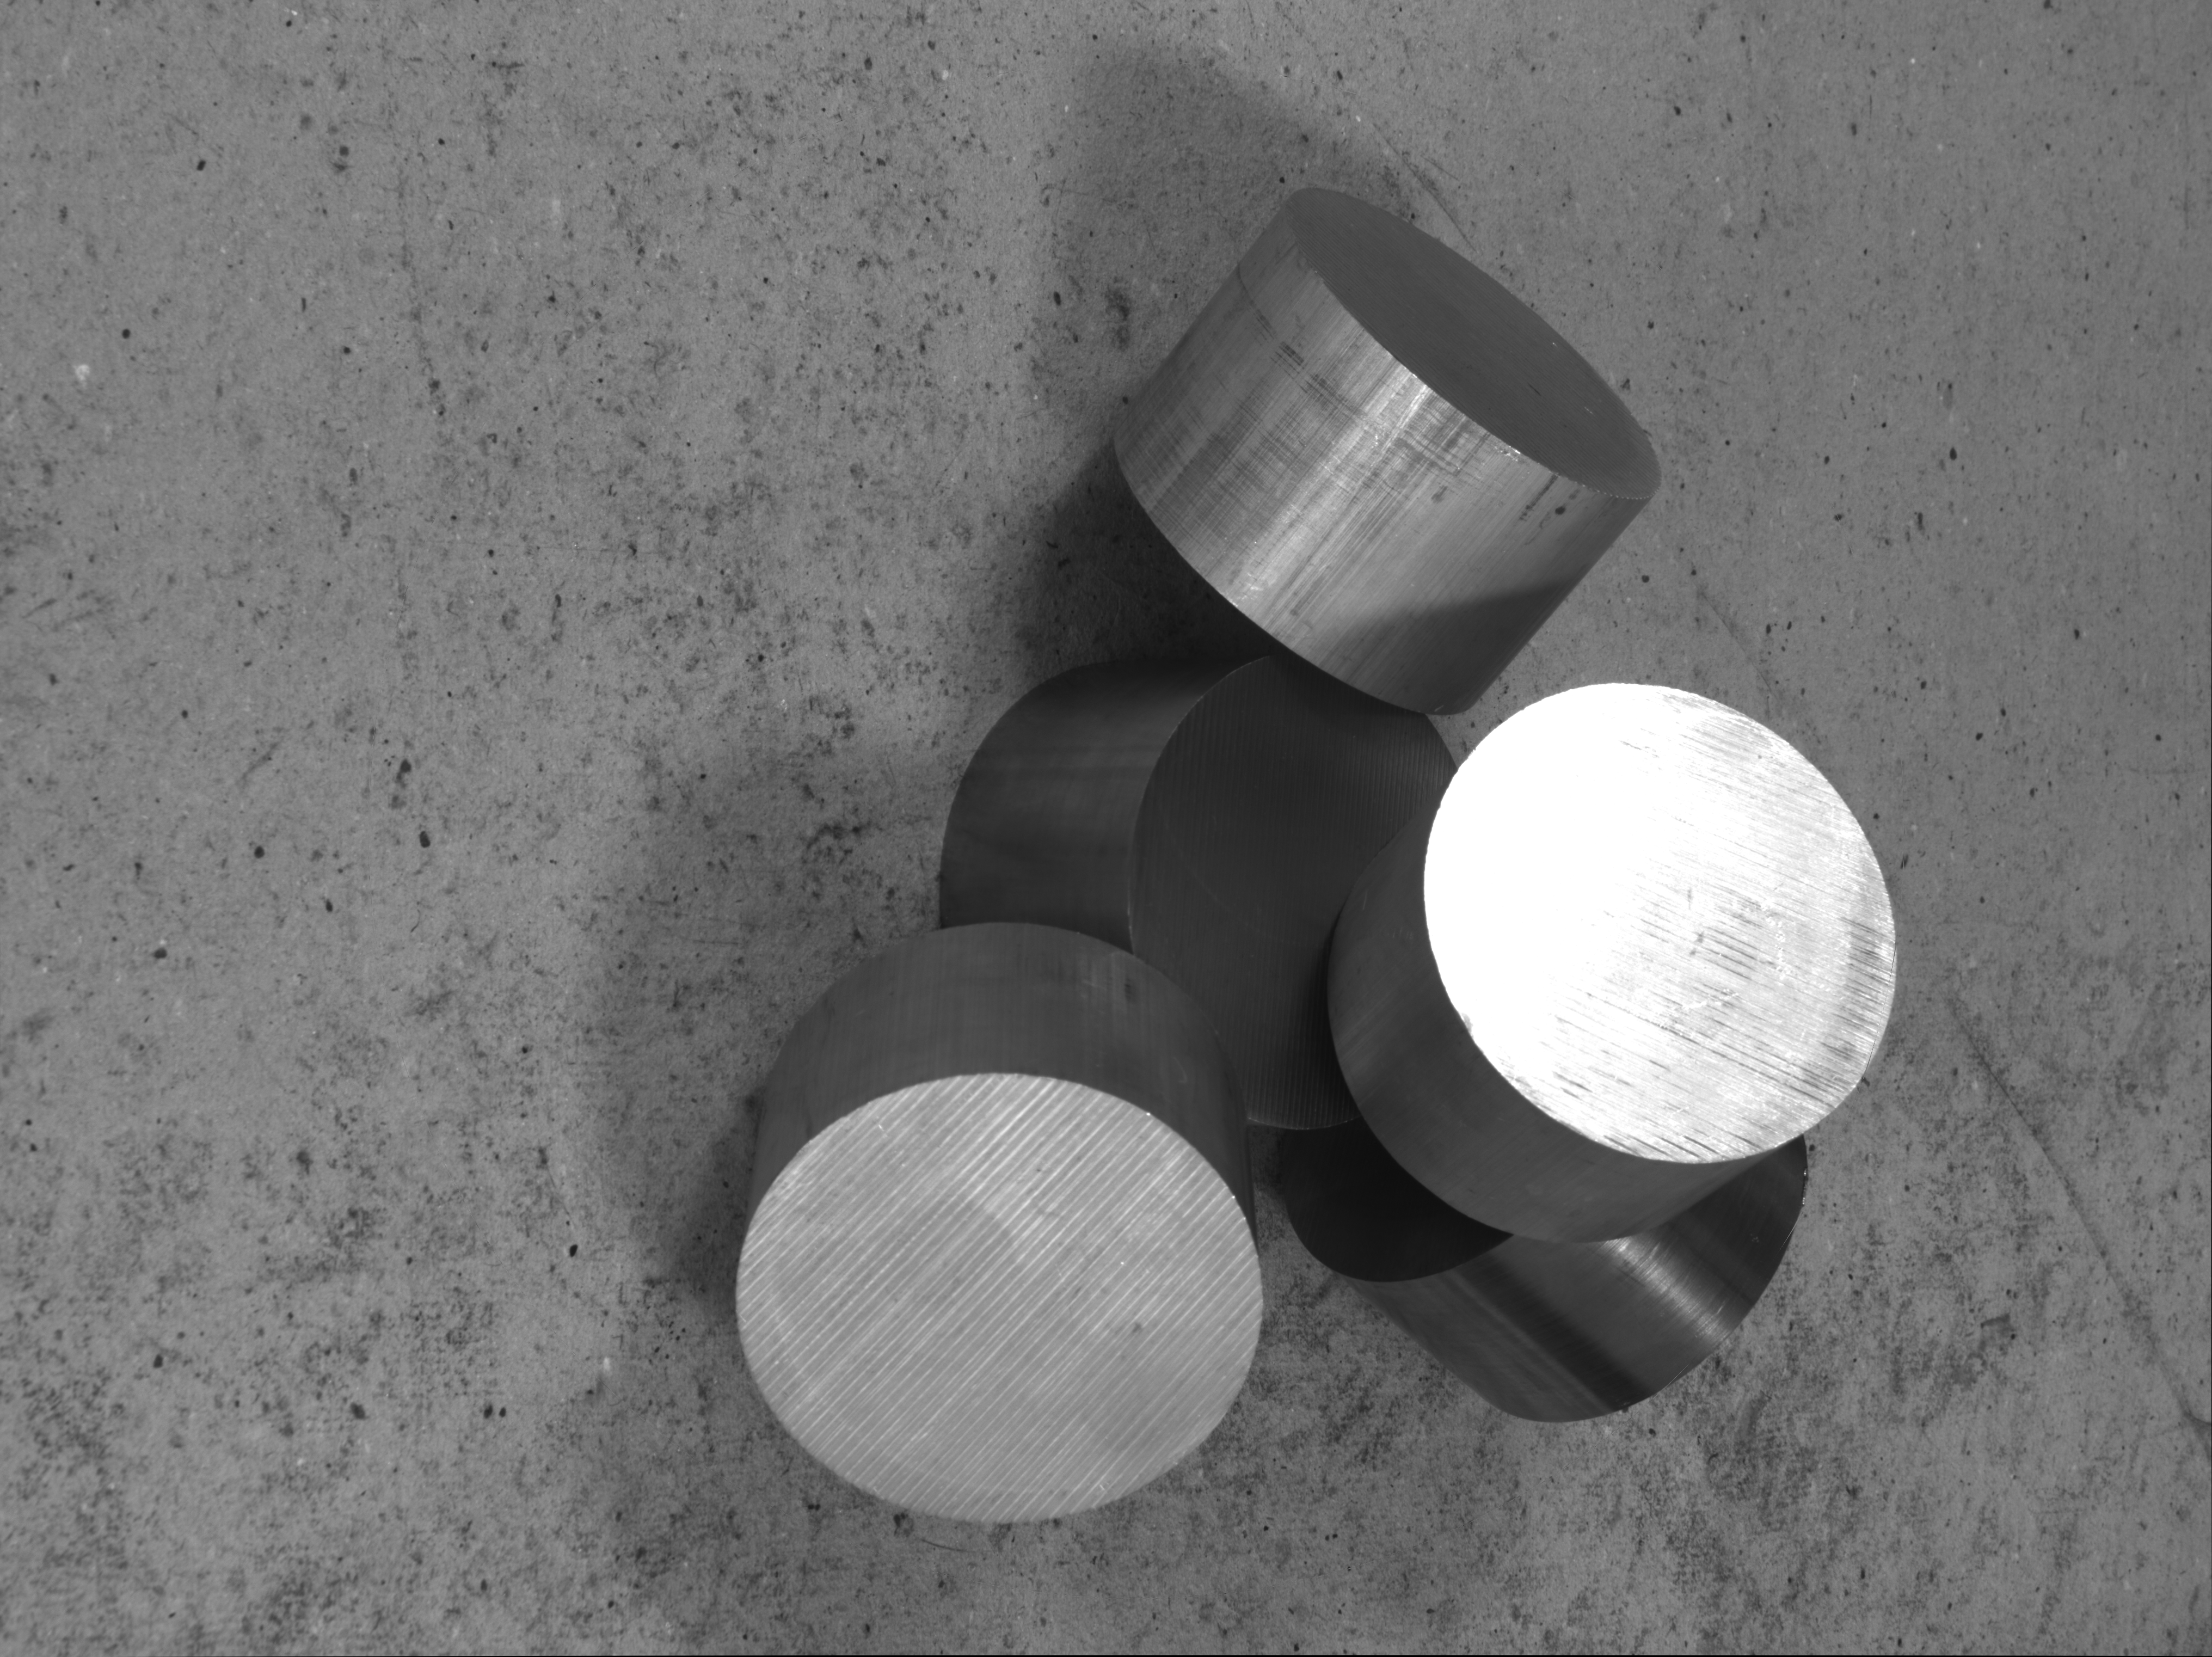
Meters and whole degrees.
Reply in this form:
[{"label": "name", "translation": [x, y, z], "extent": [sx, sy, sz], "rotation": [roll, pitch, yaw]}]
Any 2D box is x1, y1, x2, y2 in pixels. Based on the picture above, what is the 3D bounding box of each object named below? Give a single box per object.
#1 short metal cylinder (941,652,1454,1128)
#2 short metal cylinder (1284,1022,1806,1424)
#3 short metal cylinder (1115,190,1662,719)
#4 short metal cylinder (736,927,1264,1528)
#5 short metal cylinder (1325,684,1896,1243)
[{"label": "short metal cylinder", "translation": [0.018, 0.011, 0.635], "extent": [0.080, 0.050, 0.080], "rotation": [1, 89, -40]}, {"label": "short metal cylinder", "translation": [0.079, 0.060, 0.666], "extent": [0.050, 0.080, 0.080], "rotation": [42, 65, -32]}, {"label": "short metal cylinder", "translation": [0.049, -0.065, 0.633], "extent": [0.080, 0.080, 0.050], "rotation": [18, 122, -38]}, {"label": "short metal cylinder", "translation": [-0.016, 0.063, 0.579], "extent": [0.080, 0.050, 0.080], "rotation": [-1, 114, -1]}, {"label": "short metal cylinder", "translation": [0.082, 0.023, 0.601], "extent": [0.080, 0.050, 0.080], "rotation": [5, 68, -14]}]
